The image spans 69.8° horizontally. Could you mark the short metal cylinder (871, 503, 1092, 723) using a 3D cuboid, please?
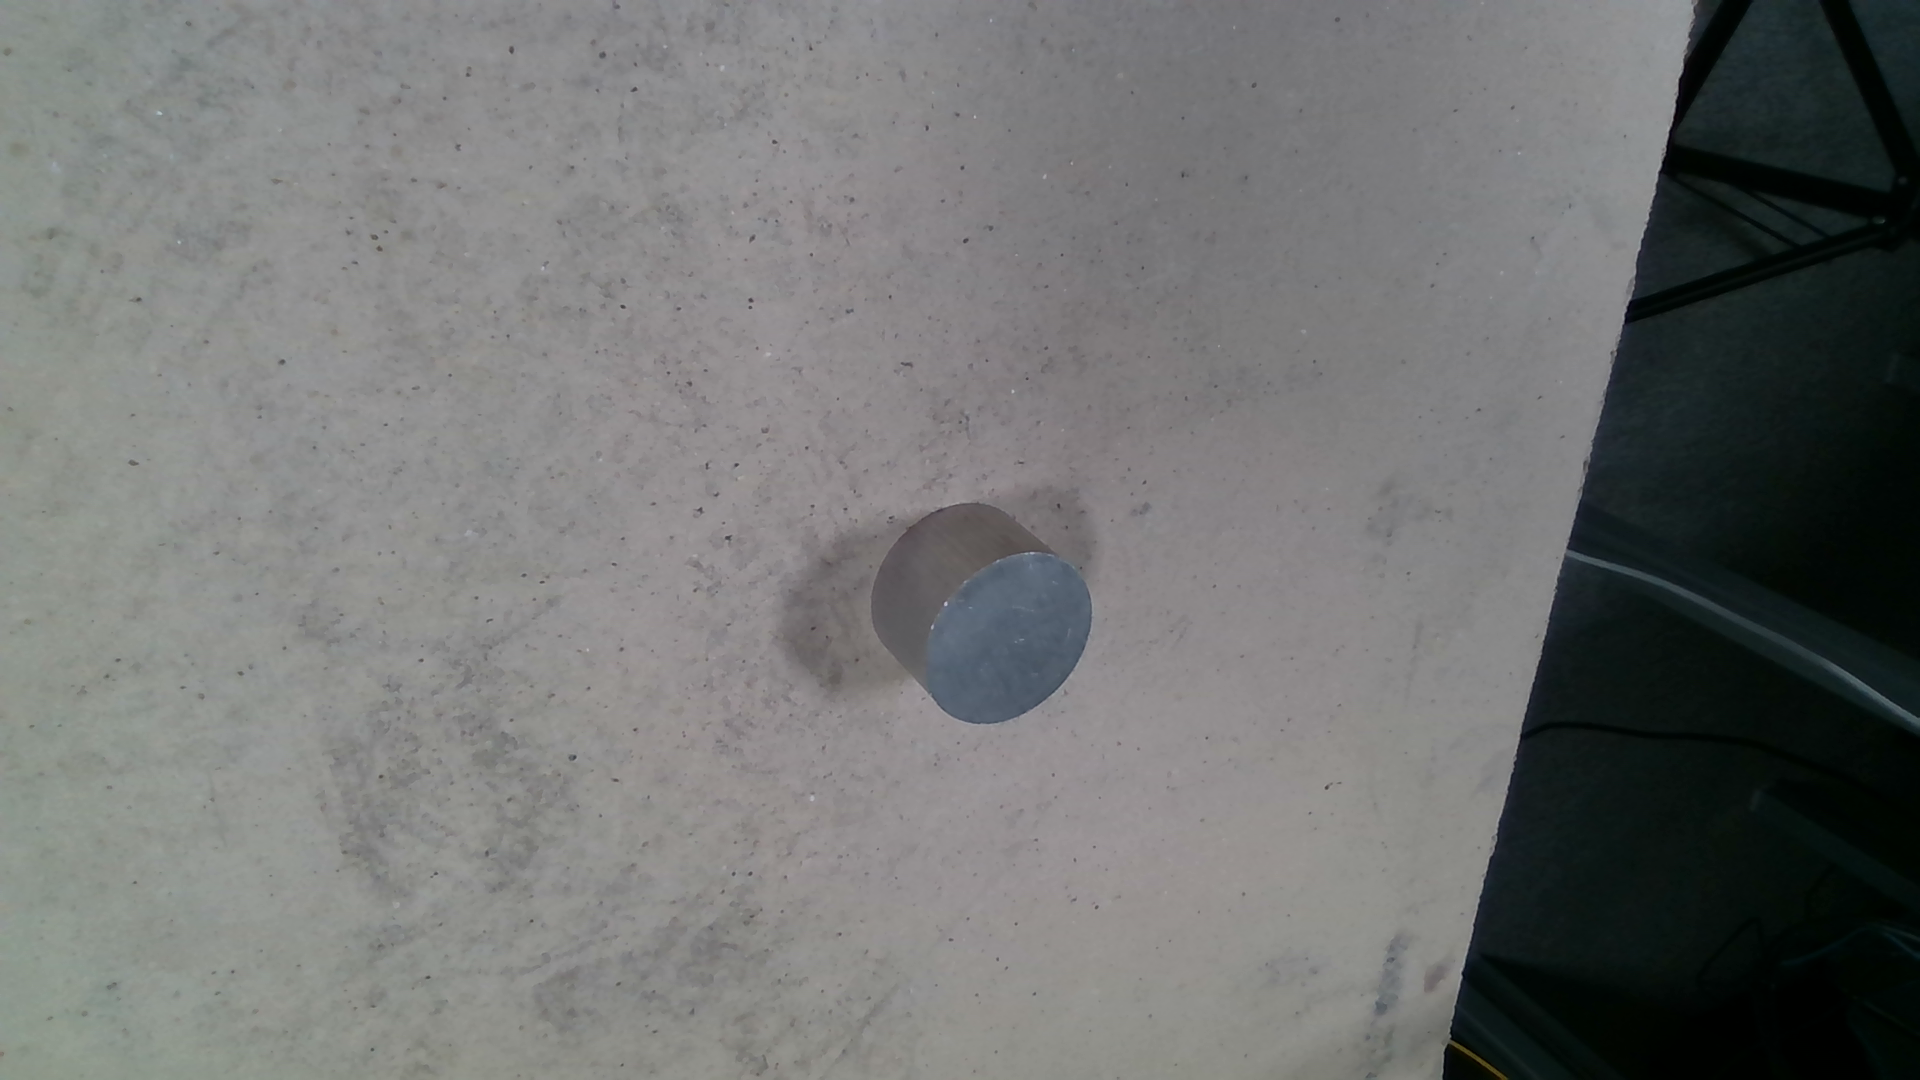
[{"bbox_3d":[0.009,0.031,0.587,0.080,0.050,0.080,-14,122,-25],"label":"short metal cylinder"}]
